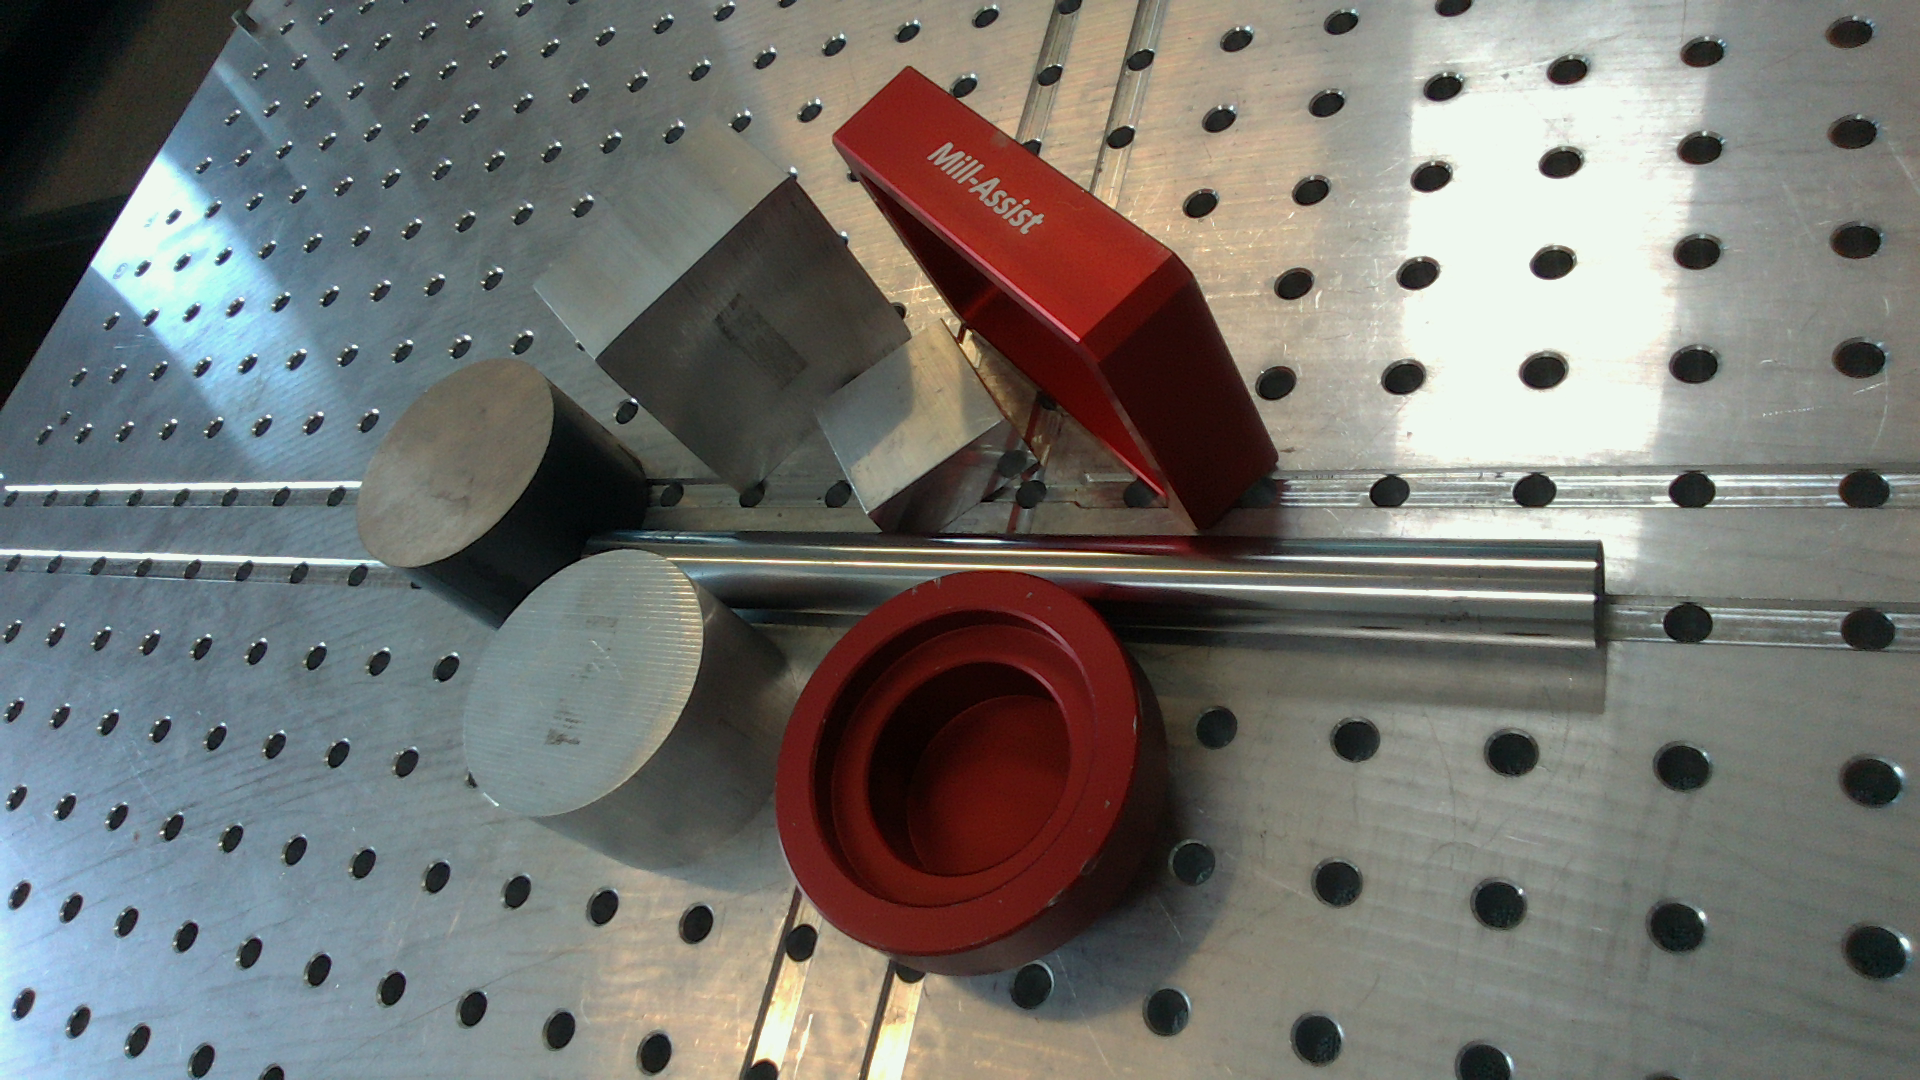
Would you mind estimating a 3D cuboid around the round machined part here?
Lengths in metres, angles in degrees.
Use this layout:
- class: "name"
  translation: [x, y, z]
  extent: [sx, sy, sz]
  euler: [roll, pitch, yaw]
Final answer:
- class: "round machined part"
  translation: [0.005, 0.060, 0.346]
  extent: [0.098, 0.042, 0.098]
  euler: [-13, 56, 21]

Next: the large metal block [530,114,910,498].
- class: "large metal block"
  translation: [-0.075, -0.074, 0.448]
  extent: [0.080, 0.080, 0.050]
  euler: [-44, 51, -2]

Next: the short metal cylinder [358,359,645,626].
- class: "short metal cylinder"
  translation: [-0.157, -0.015, 0.474]
  extent: [0.080, 0.050, 0.080]
  euler: [-13, 56, 21]

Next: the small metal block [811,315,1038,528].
- class: "small metal block"
  translation: [-0.012, -0.033, 0.424]
  extent: [0.050, 0.025, 0.050]
  euler: [-34, 51, 6]

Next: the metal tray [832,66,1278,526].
- class: "metal tray"
  translation: [0.025, -0.068, 0.383]
  extent: [0.030, 0.090, 0.130]
  euler: [-42, 51, -1]

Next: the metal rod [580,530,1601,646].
- class: "metal rod"
  translation: [0.013, 0.010, 0.383]
  extent: [0.299, 0.025, 0.025]
  euler: [1, 62, 29]

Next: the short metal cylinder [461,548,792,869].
- class: "short metal cylinder"
  translation: [-0.096, 0.050, 0.401]
  extent: [0.080, 0.050, 0.080]
  euler: [-13, 56, 21]
